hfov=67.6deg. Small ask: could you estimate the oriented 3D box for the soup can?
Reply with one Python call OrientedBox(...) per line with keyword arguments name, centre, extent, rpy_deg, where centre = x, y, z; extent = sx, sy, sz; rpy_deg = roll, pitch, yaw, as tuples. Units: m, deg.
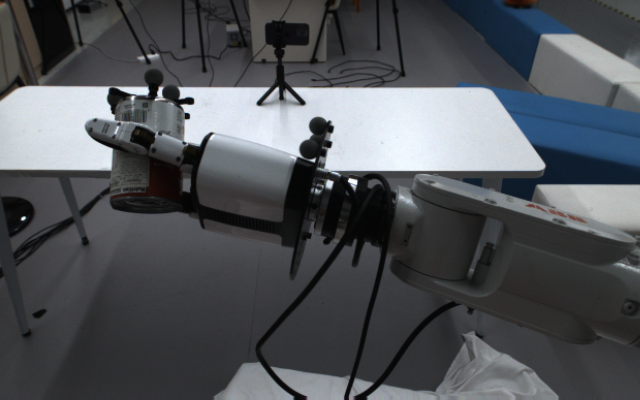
OrientedBox(name="soup can", centre=(-0.166, -0.042, 0.476), extent=(0.067, 0.067, 0.101), rpy_deg=(-1, 76, -5))
